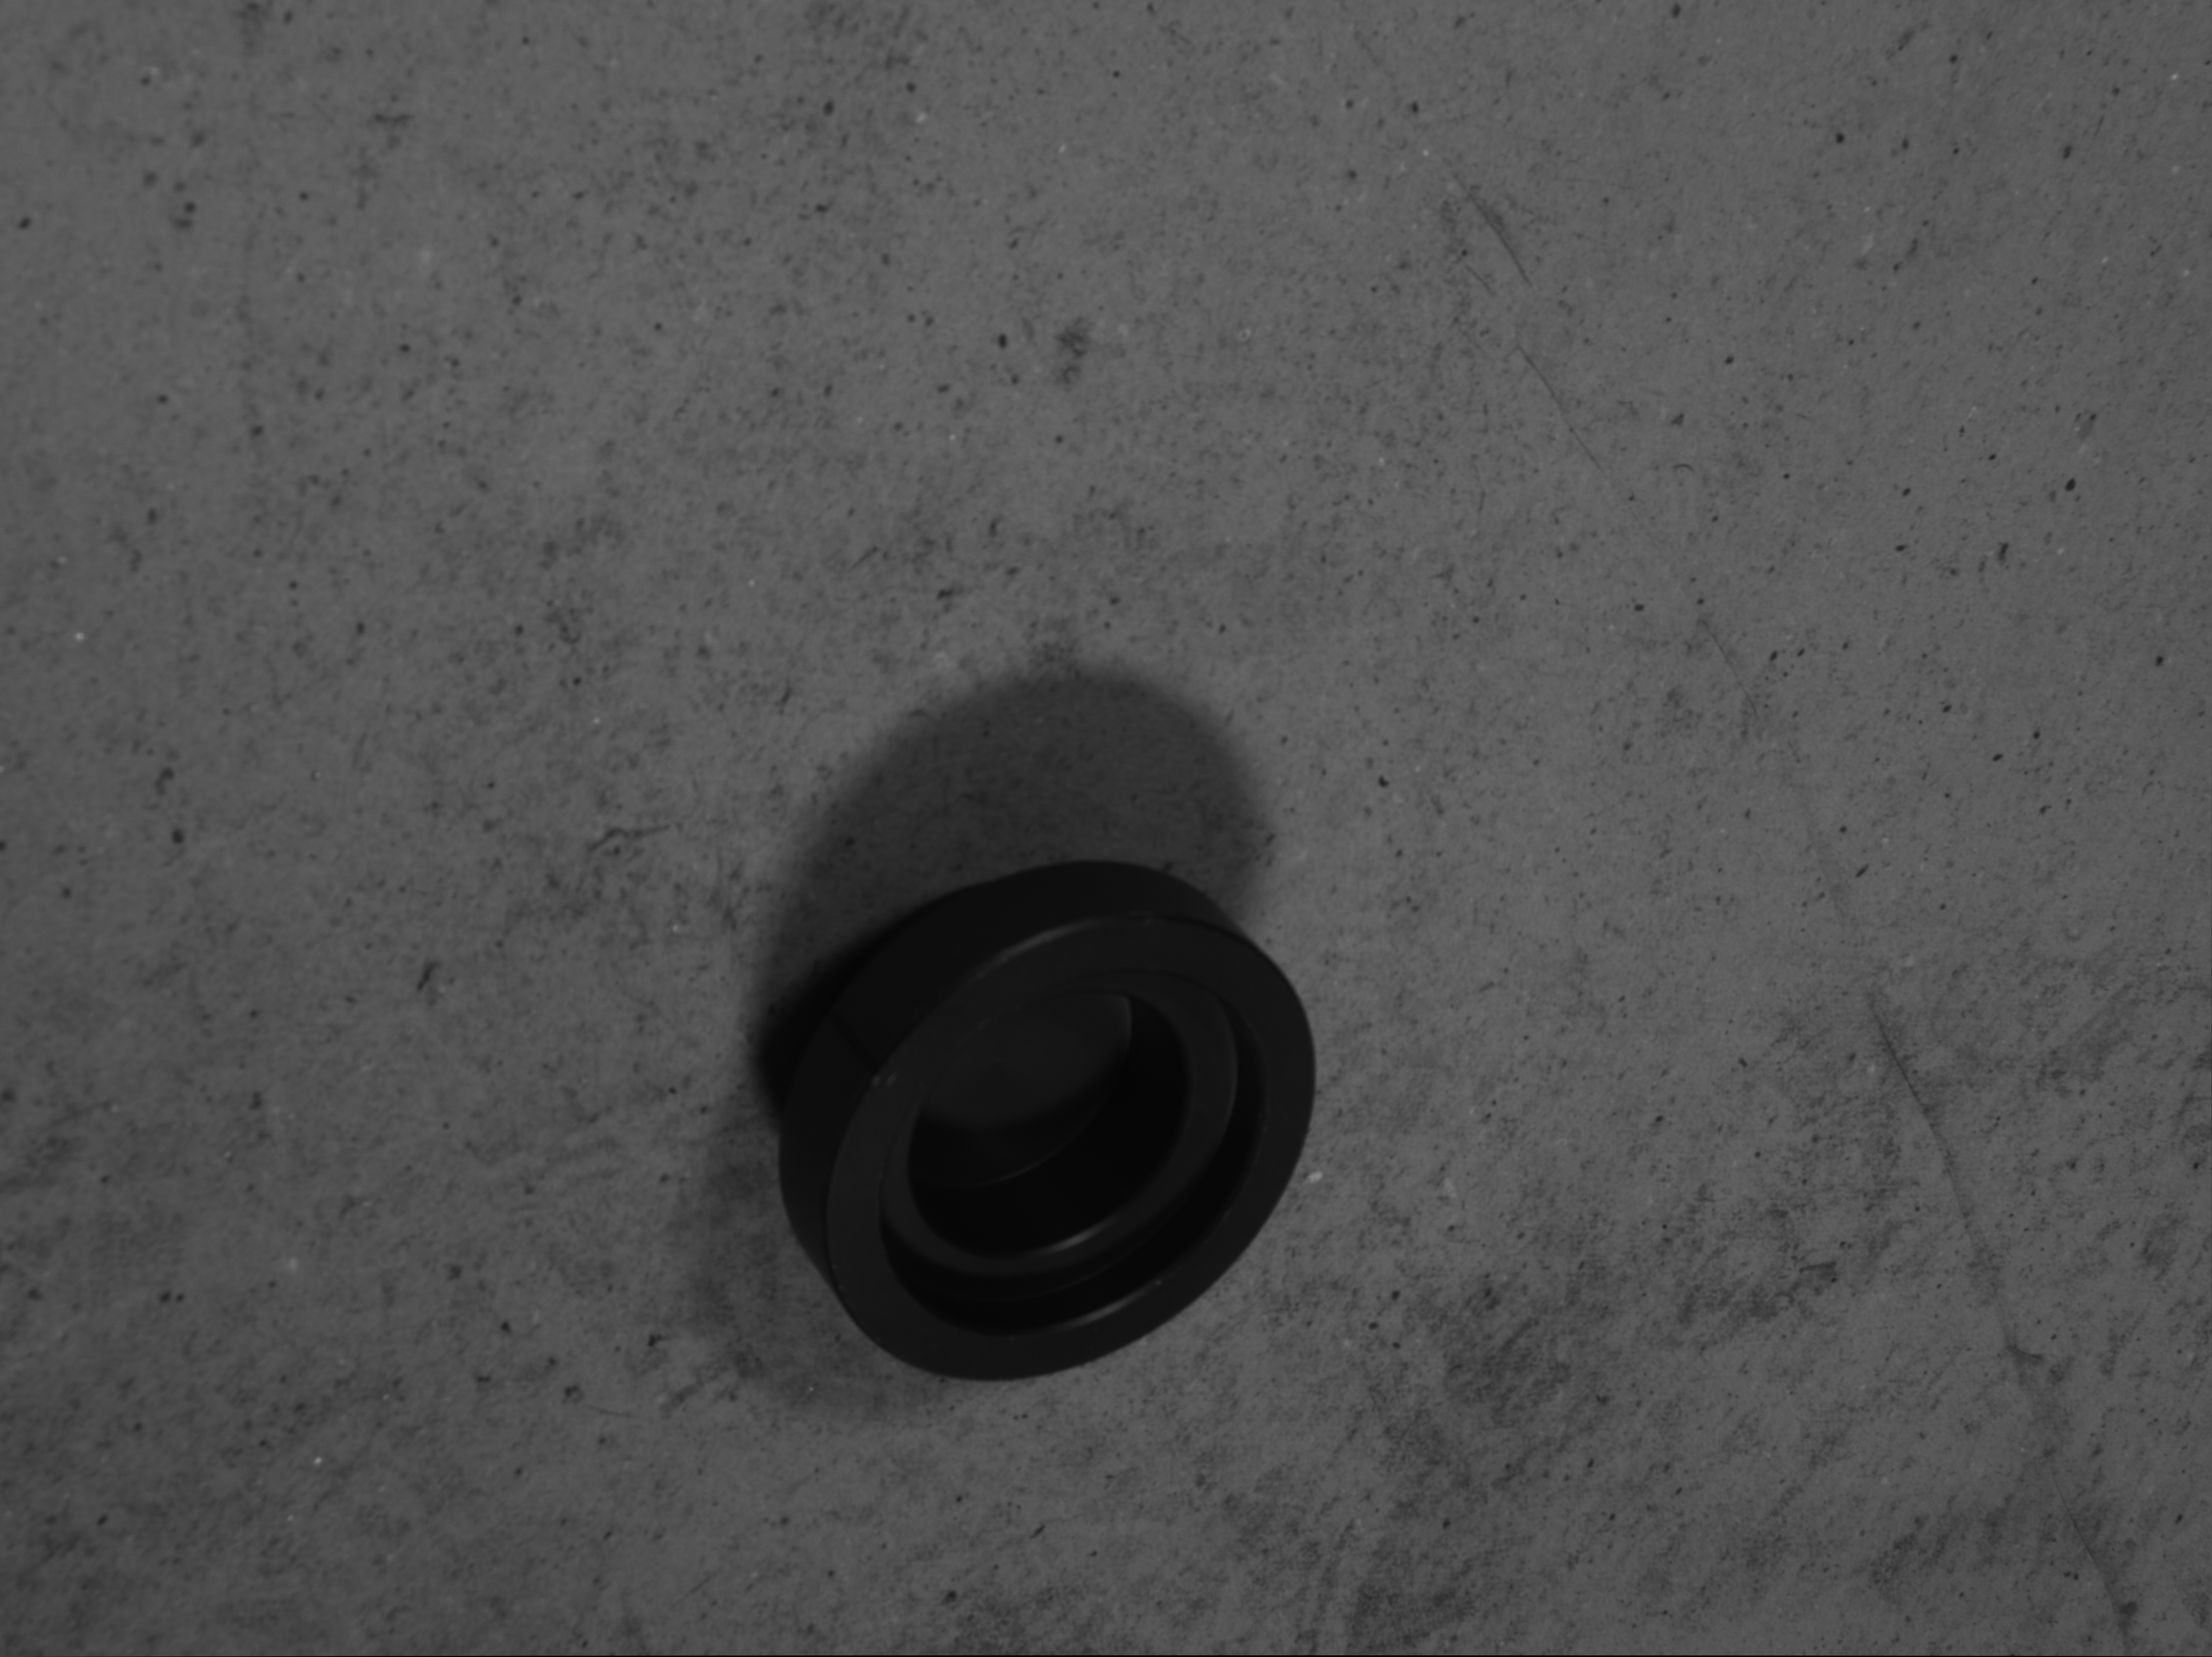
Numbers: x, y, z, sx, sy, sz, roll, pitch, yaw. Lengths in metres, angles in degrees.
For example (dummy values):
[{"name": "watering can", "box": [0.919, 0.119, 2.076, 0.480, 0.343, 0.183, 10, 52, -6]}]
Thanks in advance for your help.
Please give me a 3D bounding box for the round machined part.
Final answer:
[{"name": "round machined part", "box": [-0.008, 0.049, 0.666, 0.098, 0.042, 0.098, -15, 125, -22]}]
